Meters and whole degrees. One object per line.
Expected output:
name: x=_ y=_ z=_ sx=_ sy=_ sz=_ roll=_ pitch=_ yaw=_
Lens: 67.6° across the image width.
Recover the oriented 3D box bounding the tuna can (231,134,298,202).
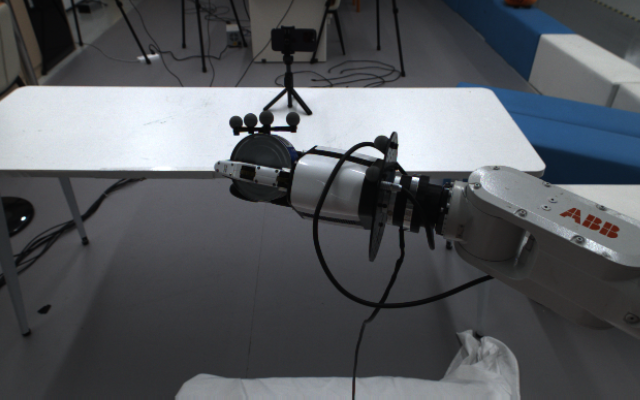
tuna can: x=-0.068 y=-0.042 z=0.618 sx=0.085 sy=0.085 sz=0.034 roll=15 pitch=10 yaw=18
